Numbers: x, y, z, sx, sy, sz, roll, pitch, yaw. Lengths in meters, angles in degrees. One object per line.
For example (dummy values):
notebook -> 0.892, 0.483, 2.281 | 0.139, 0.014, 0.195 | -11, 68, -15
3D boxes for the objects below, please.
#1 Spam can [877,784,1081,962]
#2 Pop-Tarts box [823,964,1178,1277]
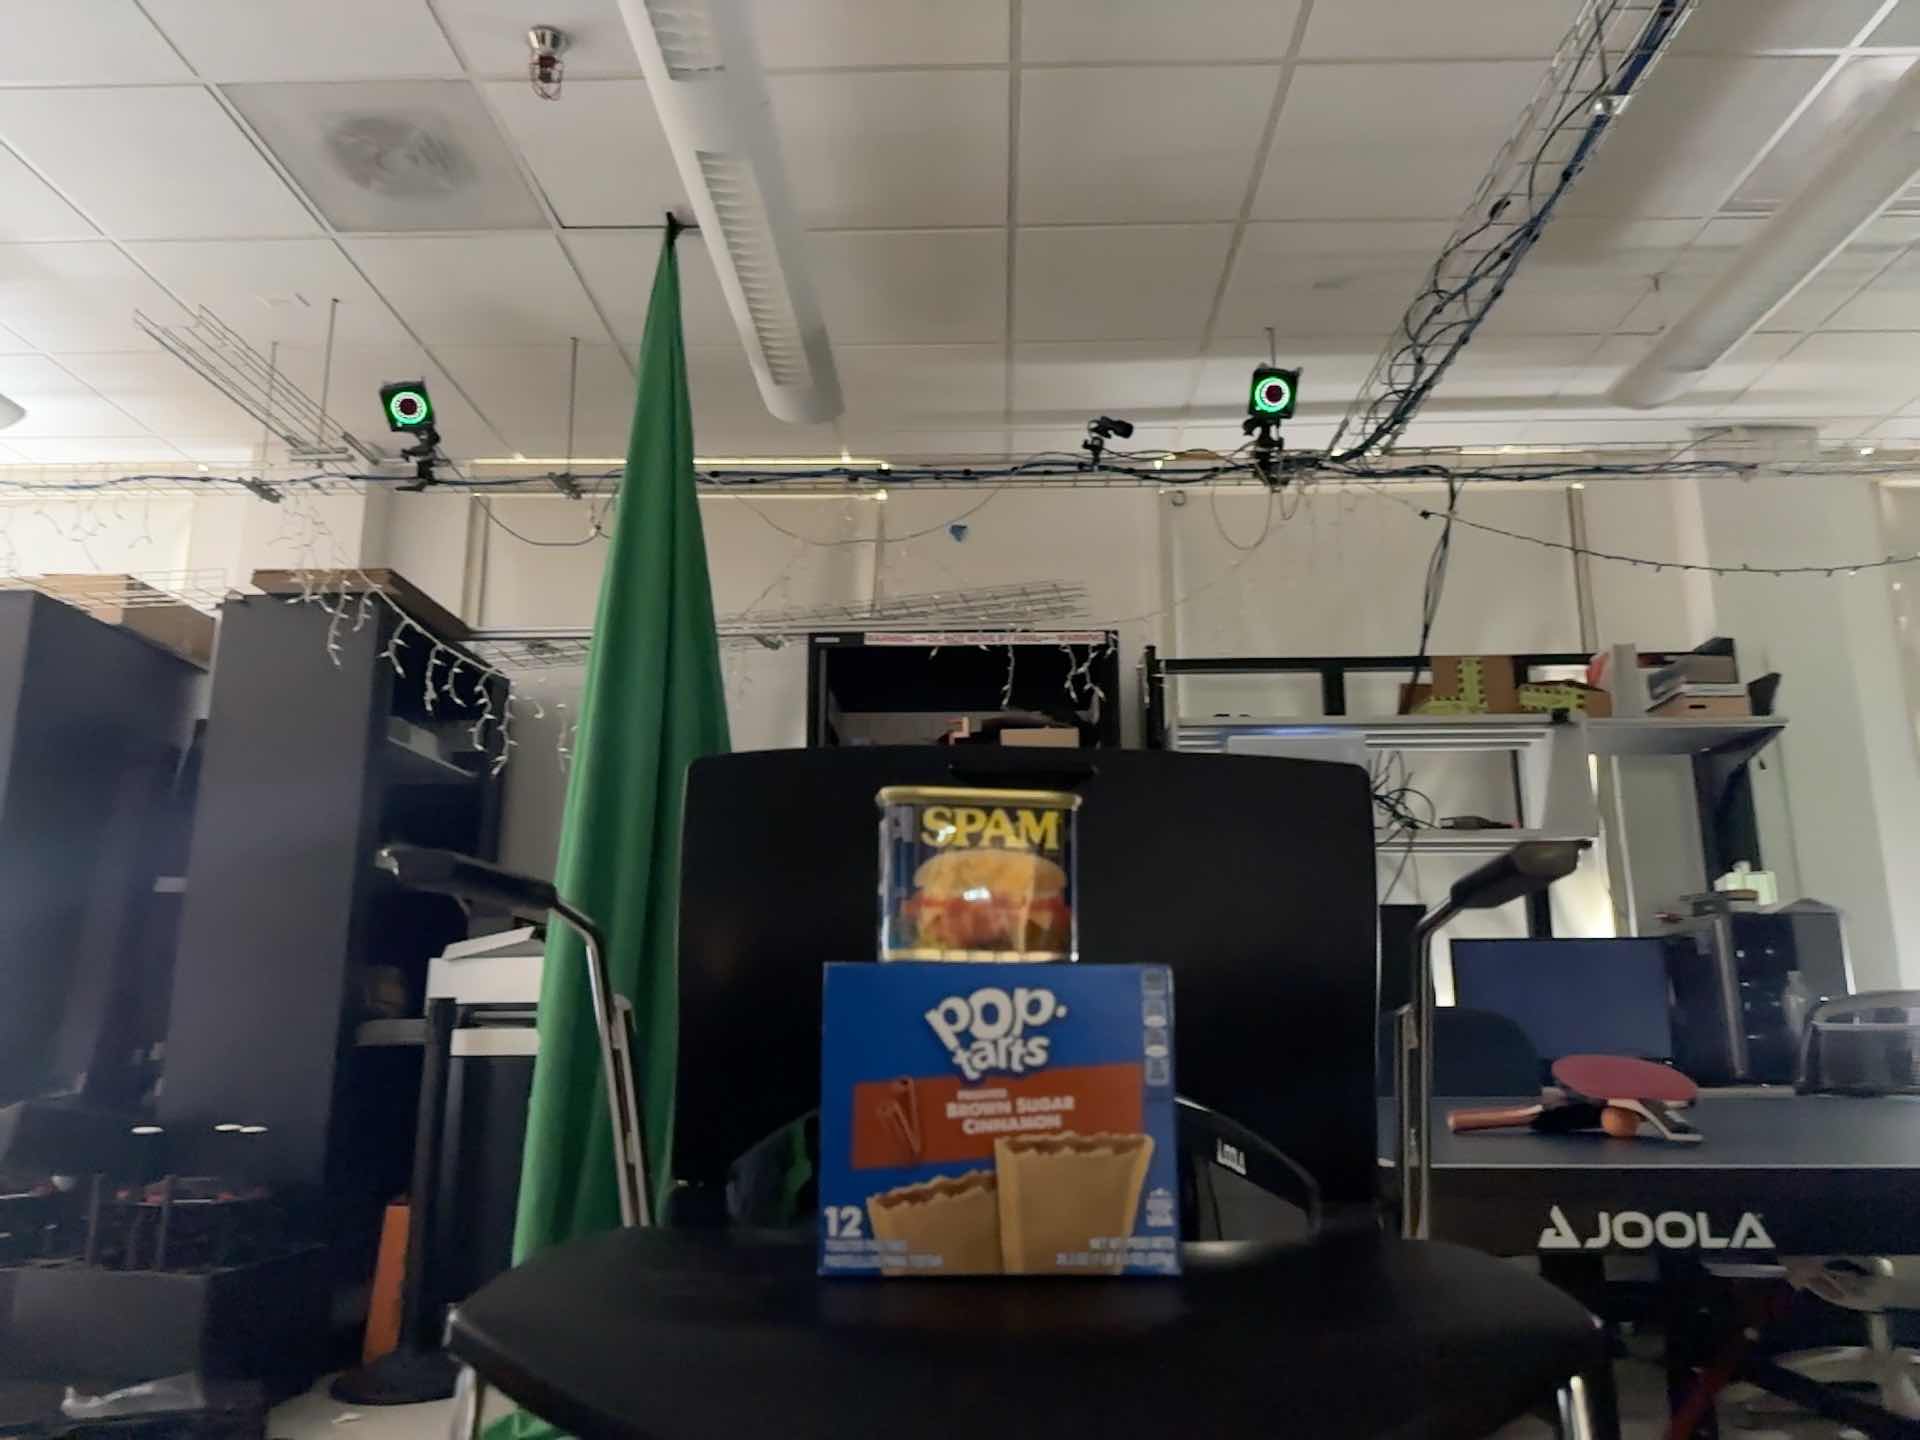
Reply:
Spam can -> 0.008, 0.078, 0.677 | 0.100, 0.083, 0.056 | 2, -9, -5
Pop-Tarts box -> 0.018, 0.192, 0.665 | 0.161, 0.135, 0.075 | 0, -9, -2
